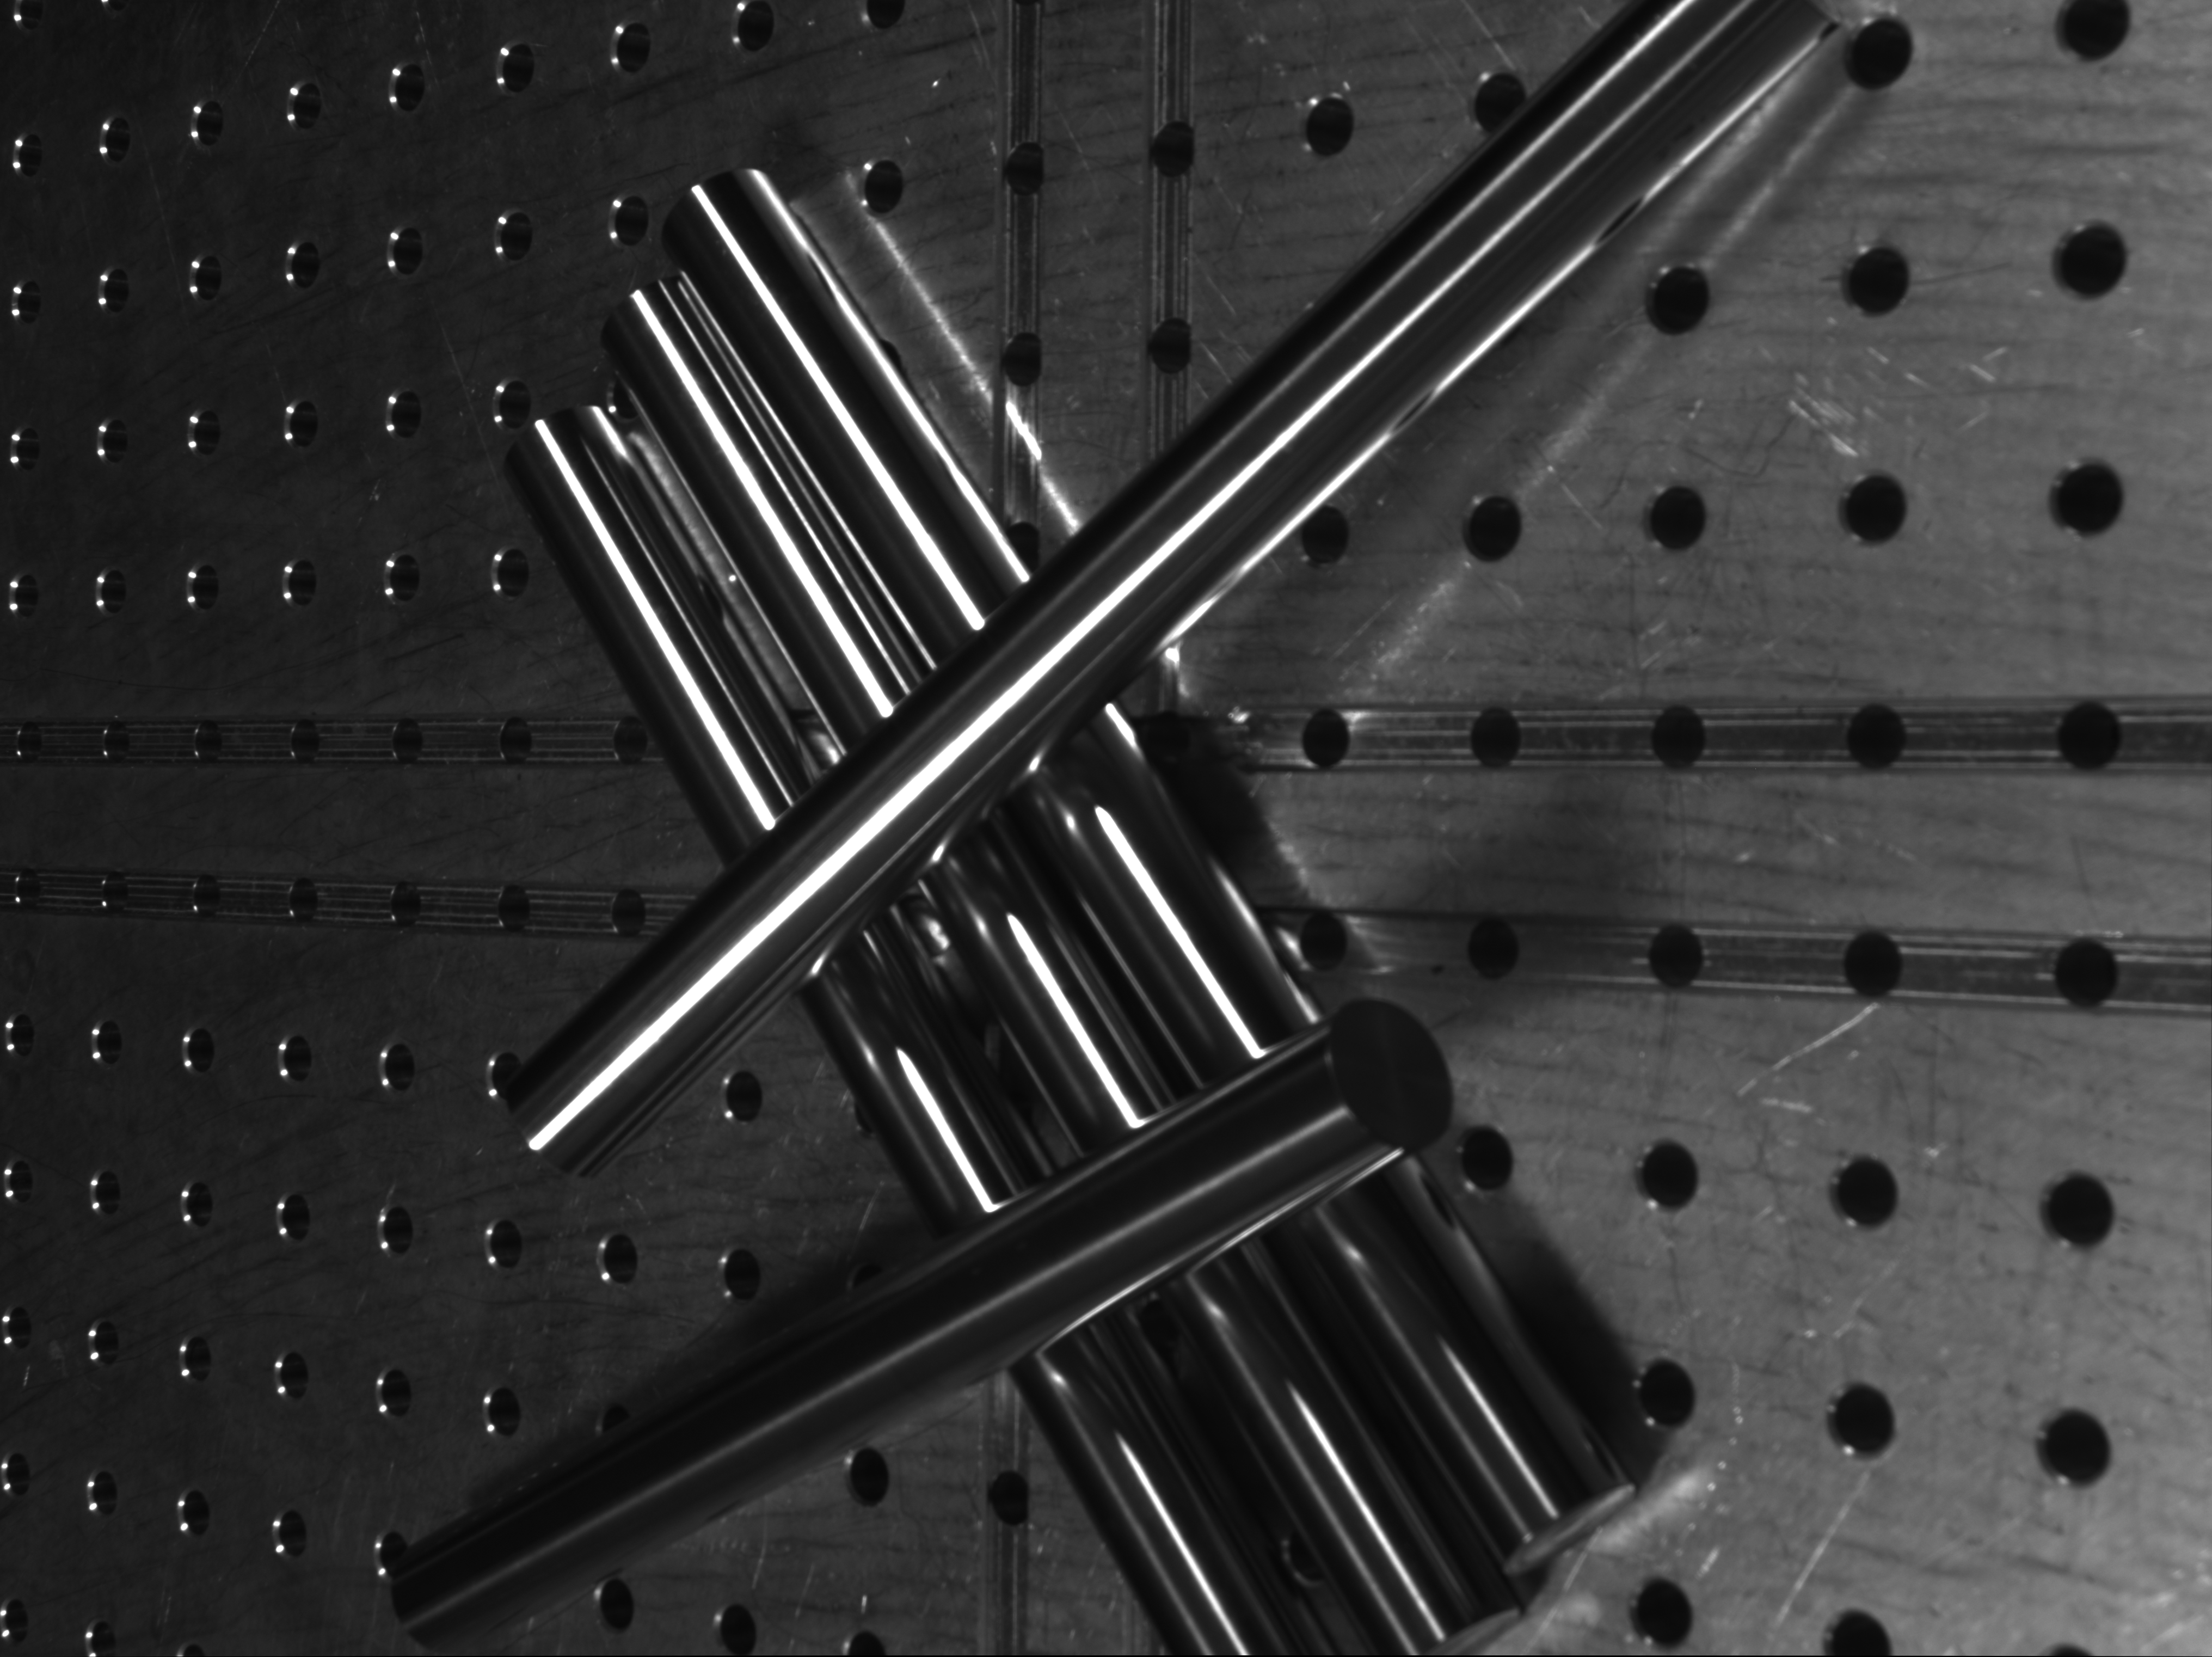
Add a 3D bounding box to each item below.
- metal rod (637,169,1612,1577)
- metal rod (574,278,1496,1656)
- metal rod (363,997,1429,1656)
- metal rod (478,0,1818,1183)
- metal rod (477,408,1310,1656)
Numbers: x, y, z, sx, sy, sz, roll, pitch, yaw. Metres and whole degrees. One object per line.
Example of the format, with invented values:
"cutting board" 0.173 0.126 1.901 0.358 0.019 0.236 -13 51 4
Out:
"metal rod" -0.005 -0.003 0.643 0.025 0.025 0.300 -47 62 29
"metal rod" -0.020 0.018 0.655 0.025 0.025 0.300 -46 63 29
"metal rod" -0.051 0.098 0.654 0.299 0.025 0.025 -34 69 43
"metal rod" -0.003 -0.038 0.615 0.300 0.025 0.025 -42 64 22
"metal rod" -0.042 0.041 0.673 0.025 0.025 0.300 -46 63 29
